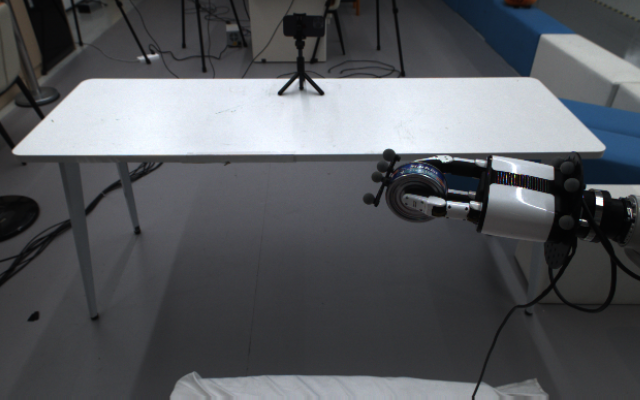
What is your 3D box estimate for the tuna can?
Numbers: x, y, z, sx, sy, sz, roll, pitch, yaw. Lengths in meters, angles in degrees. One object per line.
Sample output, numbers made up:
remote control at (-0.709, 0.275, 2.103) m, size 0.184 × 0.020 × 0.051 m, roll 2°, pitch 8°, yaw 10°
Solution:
tuna can at (0.140, -0.012, 0.691) m, size 0.085 × 0.085 × 0.034 m, roll 9°, pitch 35°, yaw 9°
